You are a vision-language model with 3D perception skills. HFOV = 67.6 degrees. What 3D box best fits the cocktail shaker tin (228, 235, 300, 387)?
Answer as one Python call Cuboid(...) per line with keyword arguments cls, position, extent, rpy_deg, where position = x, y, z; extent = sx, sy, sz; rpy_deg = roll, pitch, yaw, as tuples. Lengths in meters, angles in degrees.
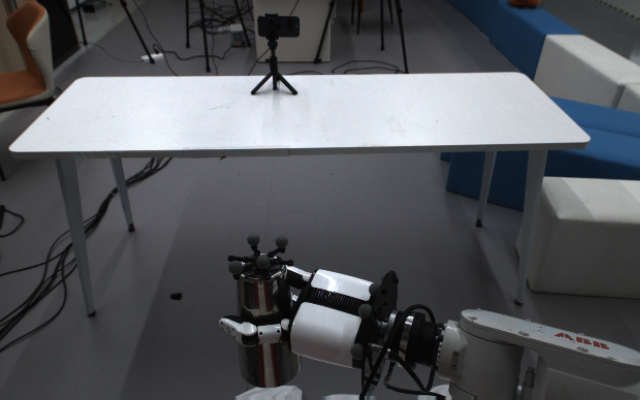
Cuboid(cls="cocktail shaker tin", position=(-0.073, 0.163, 0.672), extent=(0.093, 0.170, 0.093), rpy_deg=(-2, 26, 1))
